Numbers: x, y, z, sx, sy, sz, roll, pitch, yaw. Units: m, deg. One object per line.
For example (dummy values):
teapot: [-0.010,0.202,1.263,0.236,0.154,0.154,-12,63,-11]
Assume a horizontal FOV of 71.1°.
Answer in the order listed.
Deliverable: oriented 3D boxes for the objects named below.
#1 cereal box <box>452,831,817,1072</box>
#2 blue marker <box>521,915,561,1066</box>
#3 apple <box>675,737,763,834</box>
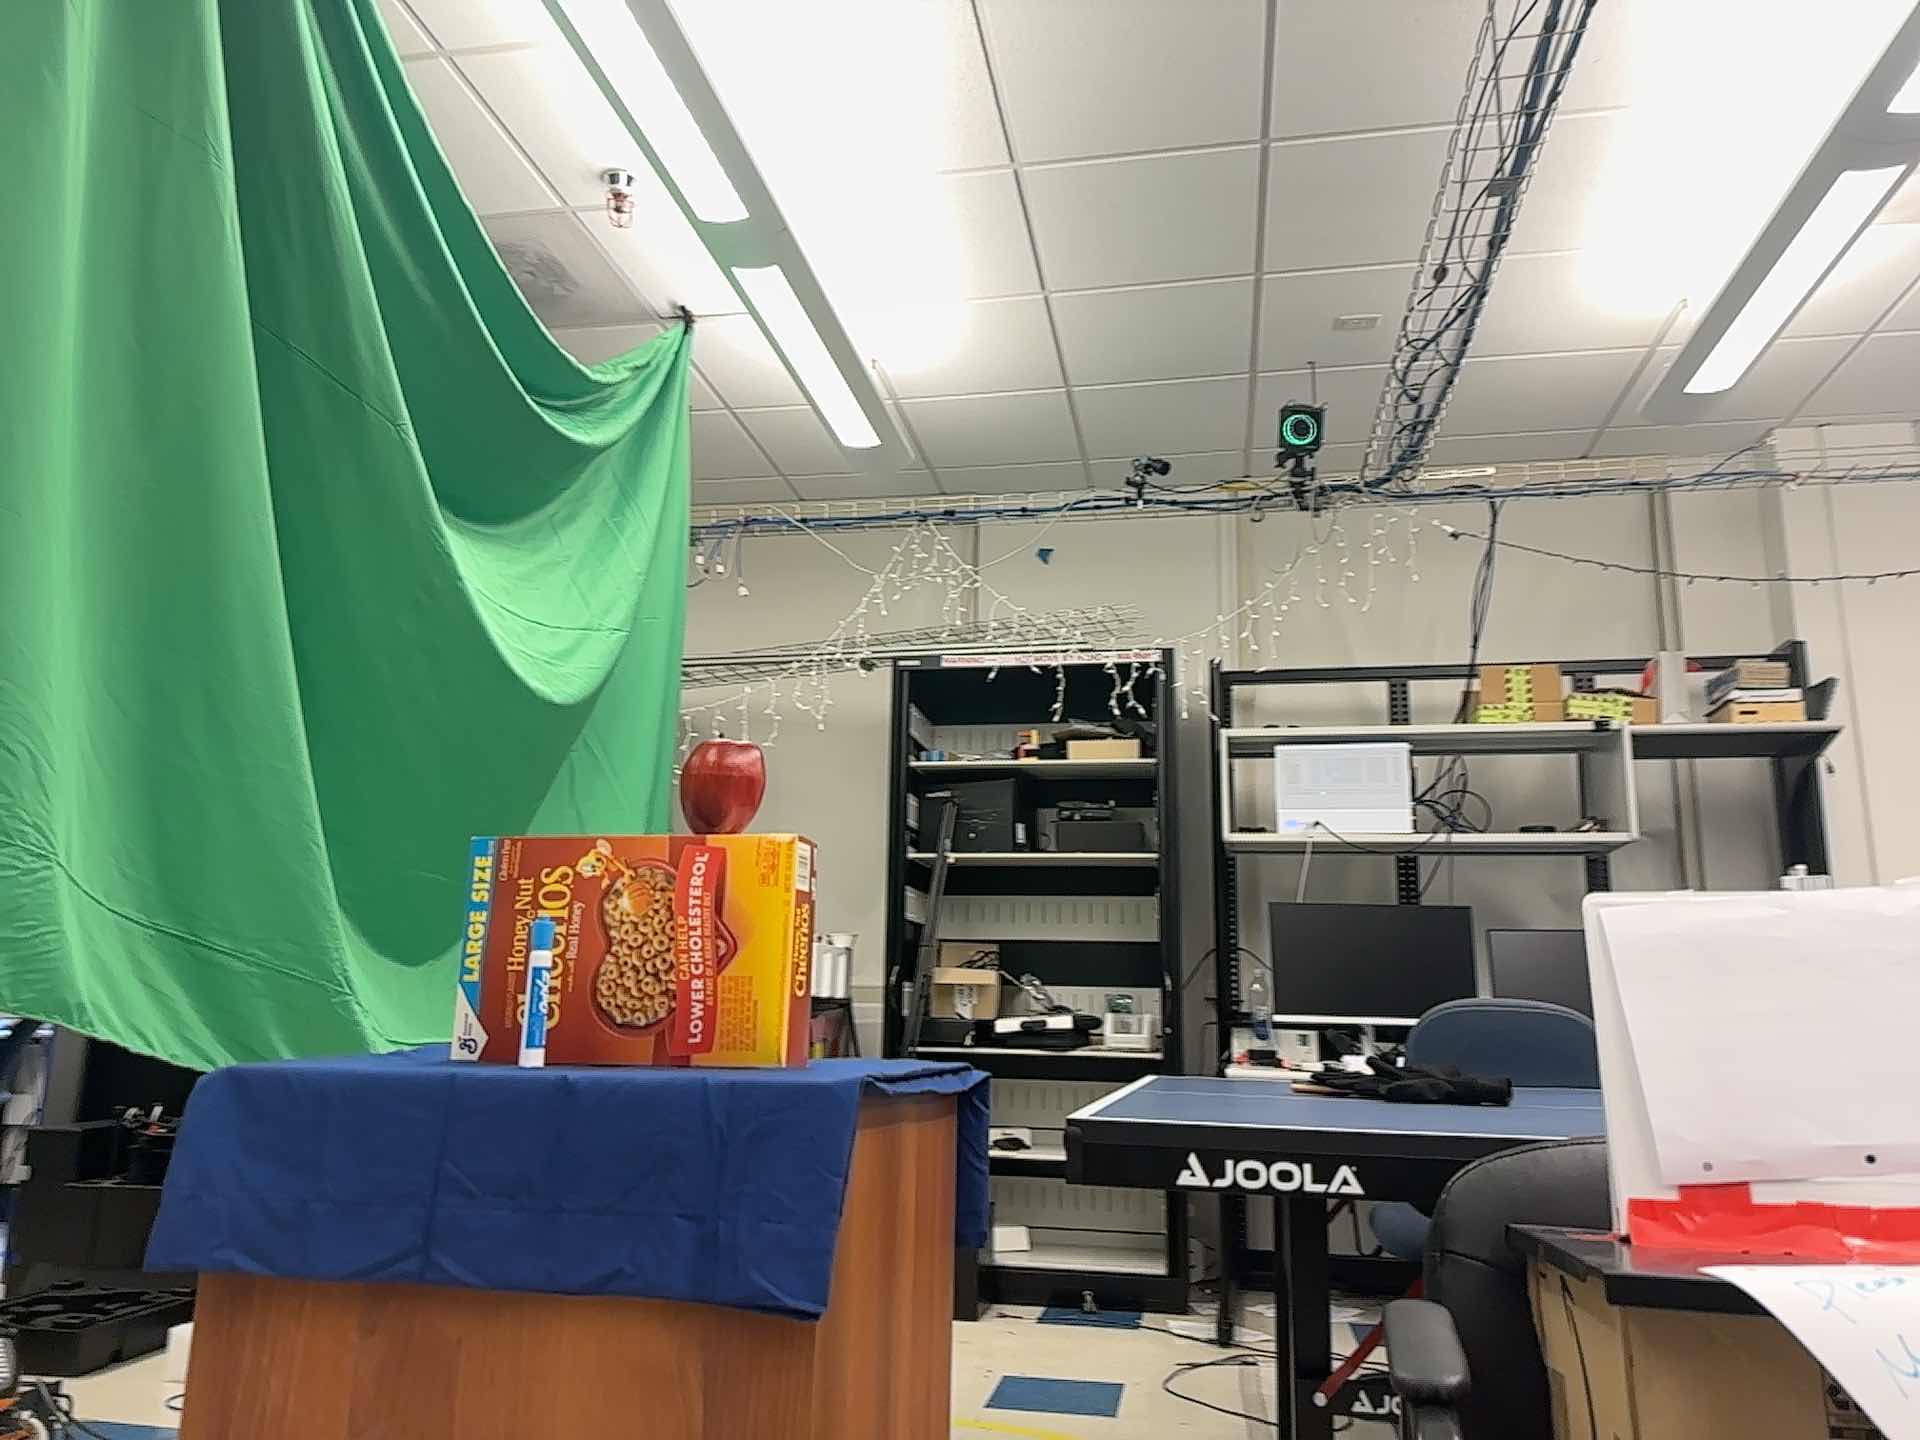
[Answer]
cereal box: [-0.288,0.204,1.195,0.297,0.195,0.065,0,-15,10]
blue marker: [-0.345,0.222,1.107,0.020,0.121,0.020,2,-15,0]
apple: [-0.219,0.061,1.217,0.079,0.093,0.079,3,-12,1]
